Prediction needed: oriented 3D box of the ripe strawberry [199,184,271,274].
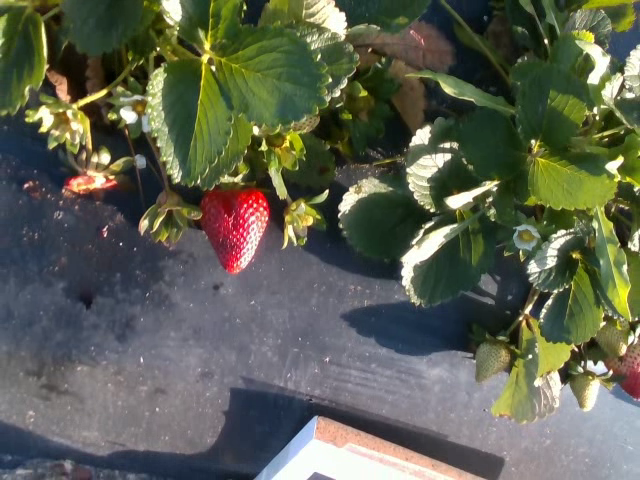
[{"bbox_3d":[-0.054,-0.002,0.372,0.052,0.052,0.041,1,-15,8],"label":"ripe strawberry"}]
